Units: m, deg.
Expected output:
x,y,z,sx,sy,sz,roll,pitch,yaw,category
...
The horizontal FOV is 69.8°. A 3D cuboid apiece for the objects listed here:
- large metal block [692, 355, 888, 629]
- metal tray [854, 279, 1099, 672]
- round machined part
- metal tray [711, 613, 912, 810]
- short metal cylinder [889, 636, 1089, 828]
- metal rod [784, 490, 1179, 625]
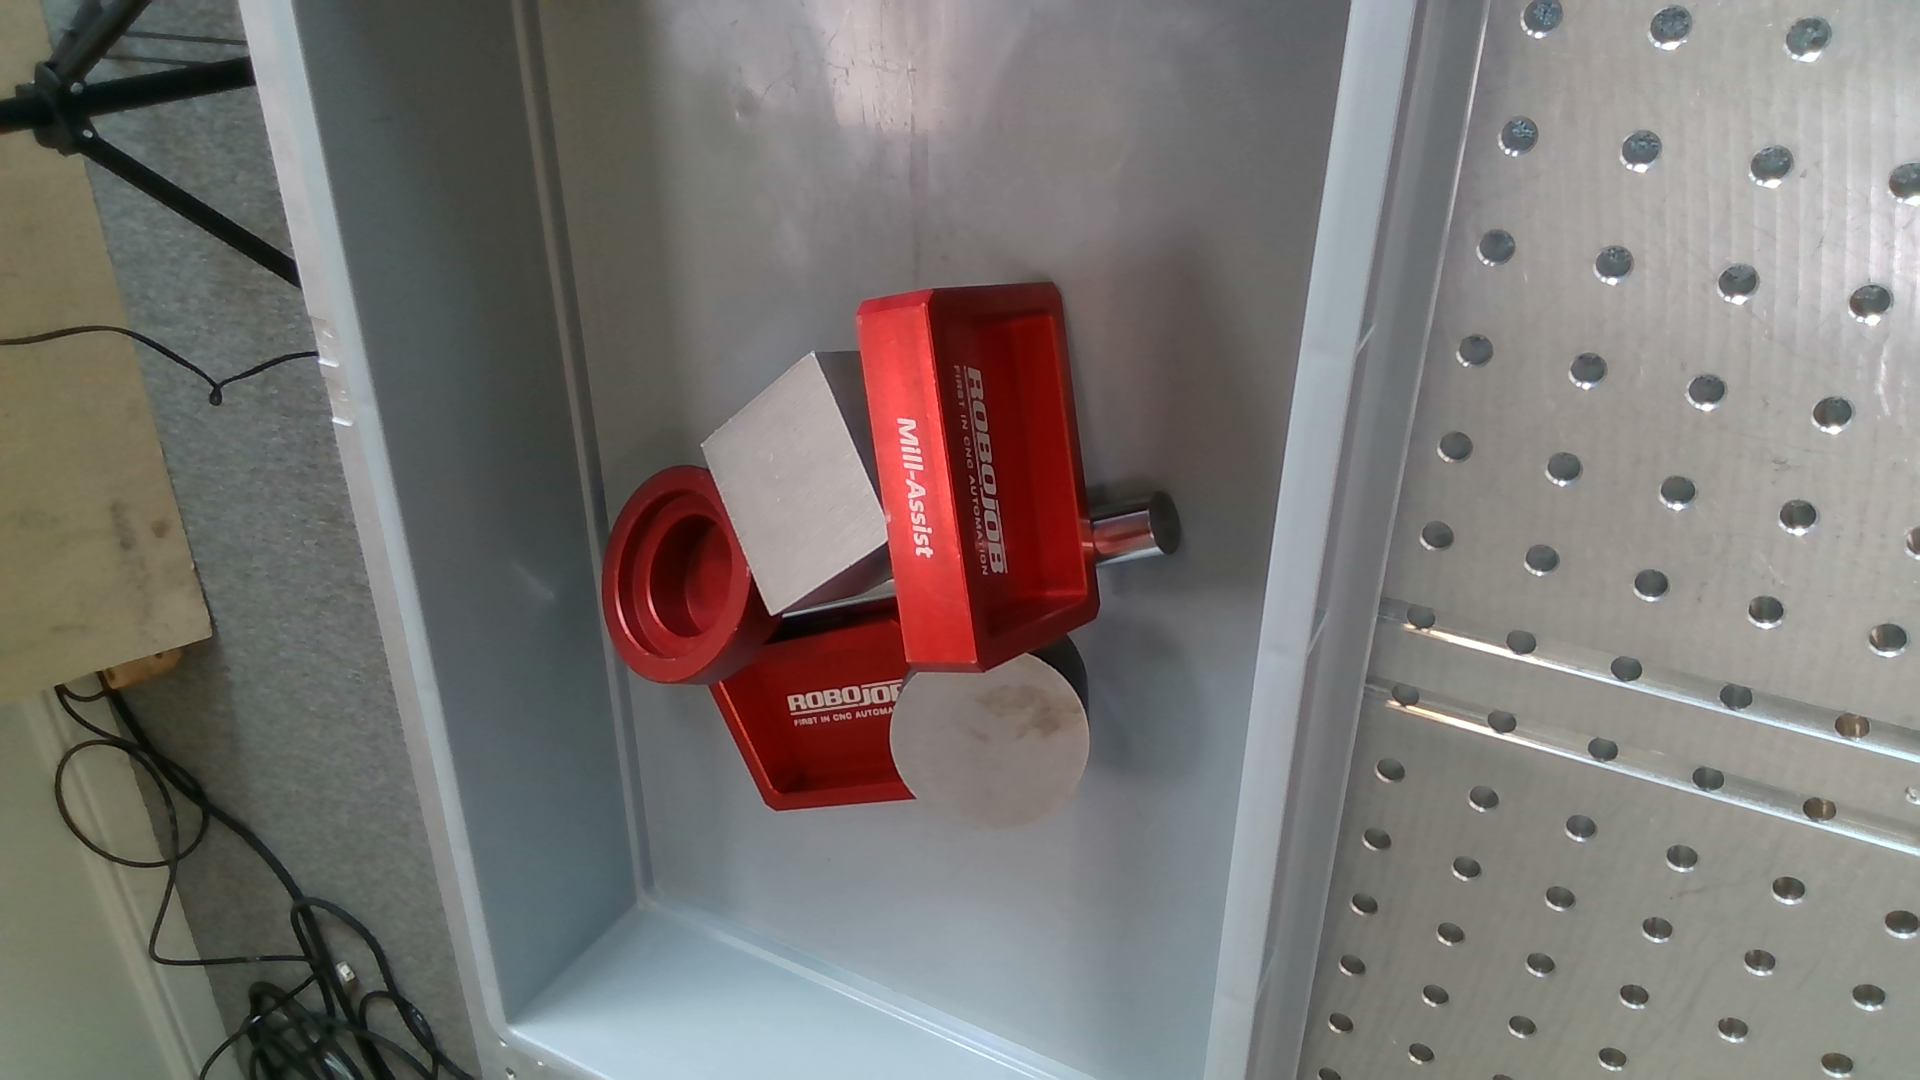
x,y,z,sx,sy,sz,roll,pitch,yaw,category
-0.053,-0.020,0.561,0.080,0.050,0.080,-33,78,39,large metal block
0.009,-0.026,0.499,0.030,0.090,0.130,-3,99,35,metal tray
-0.116,0.017,0.630,0.098,0.042,0.098,-6,80,37,round machined part
-0.054,0.079,0.652,0.130,0.030,0.090,-12,108,36,metal tray
0.013,0.072,0.575,0.080,0.050,0.080,1,108,4,short metal cylinder
-0.042,0.019,0.614,0.300,0.025,0.025,-12,108,36,metal rod
